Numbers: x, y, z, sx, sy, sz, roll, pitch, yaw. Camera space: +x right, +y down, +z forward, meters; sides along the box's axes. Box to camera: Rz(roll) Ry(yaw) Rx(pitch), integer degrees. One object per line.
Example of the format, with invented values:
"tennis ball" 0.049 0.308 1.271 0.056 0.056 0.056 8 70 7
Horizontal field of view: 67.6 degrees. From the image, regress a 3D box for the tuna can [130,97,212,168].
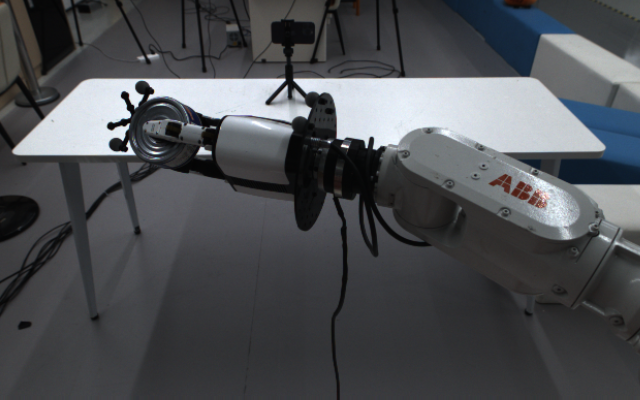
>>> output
"tuna can" -0.190 -0.084 0.599 0.085 0.085 0.034 12 -3 14
